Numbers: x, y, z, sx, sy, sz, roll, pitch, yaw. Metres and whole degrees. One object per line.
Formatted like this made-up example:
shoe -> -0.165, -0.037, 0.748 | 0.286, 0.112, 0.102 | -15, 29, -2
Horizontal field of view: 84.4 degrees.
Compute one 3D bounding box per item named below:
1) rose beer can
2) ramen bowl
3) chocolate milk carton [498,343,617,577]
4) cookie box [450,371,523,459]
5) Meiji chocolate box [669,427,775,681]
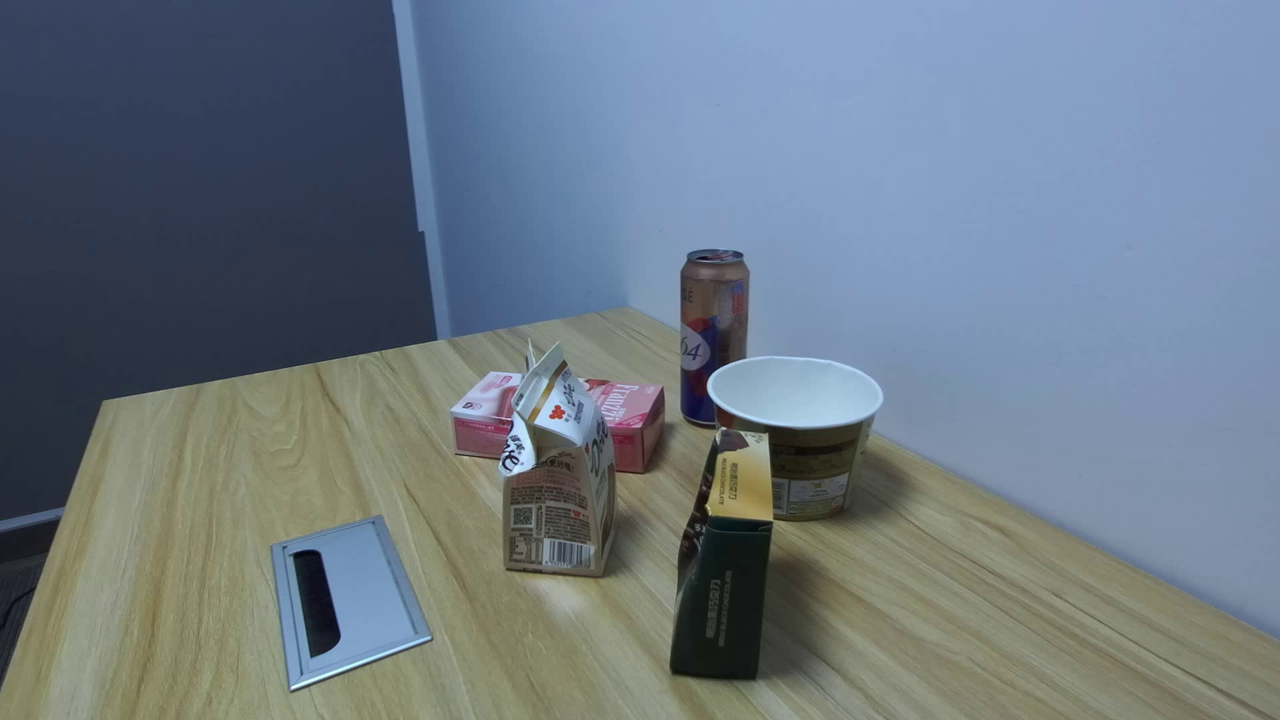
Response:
rose beer can -> 0.073, -0.020, 0.700 | 0.068, 0.169, 0.068 | -1, 22, 1
ramen bowl -> 0.124, 0.064, 0.583 | 0.140, 0.095, 0.140 | -1, 21, 1
chocolate milk carton -> -0.060, 0.066, 0.502 | 0.073, 0.155, 0.076 | 1, 23, 8
cookie box -> -0.078, 0.057, 0.672 | 0.187, 0.049, 0.105 | 3, 21, 13
Meiji chocolate box -> 0.053, 0.115, 0.433 | 0.051, 0.117, 0.117 | 8, 22, 3
